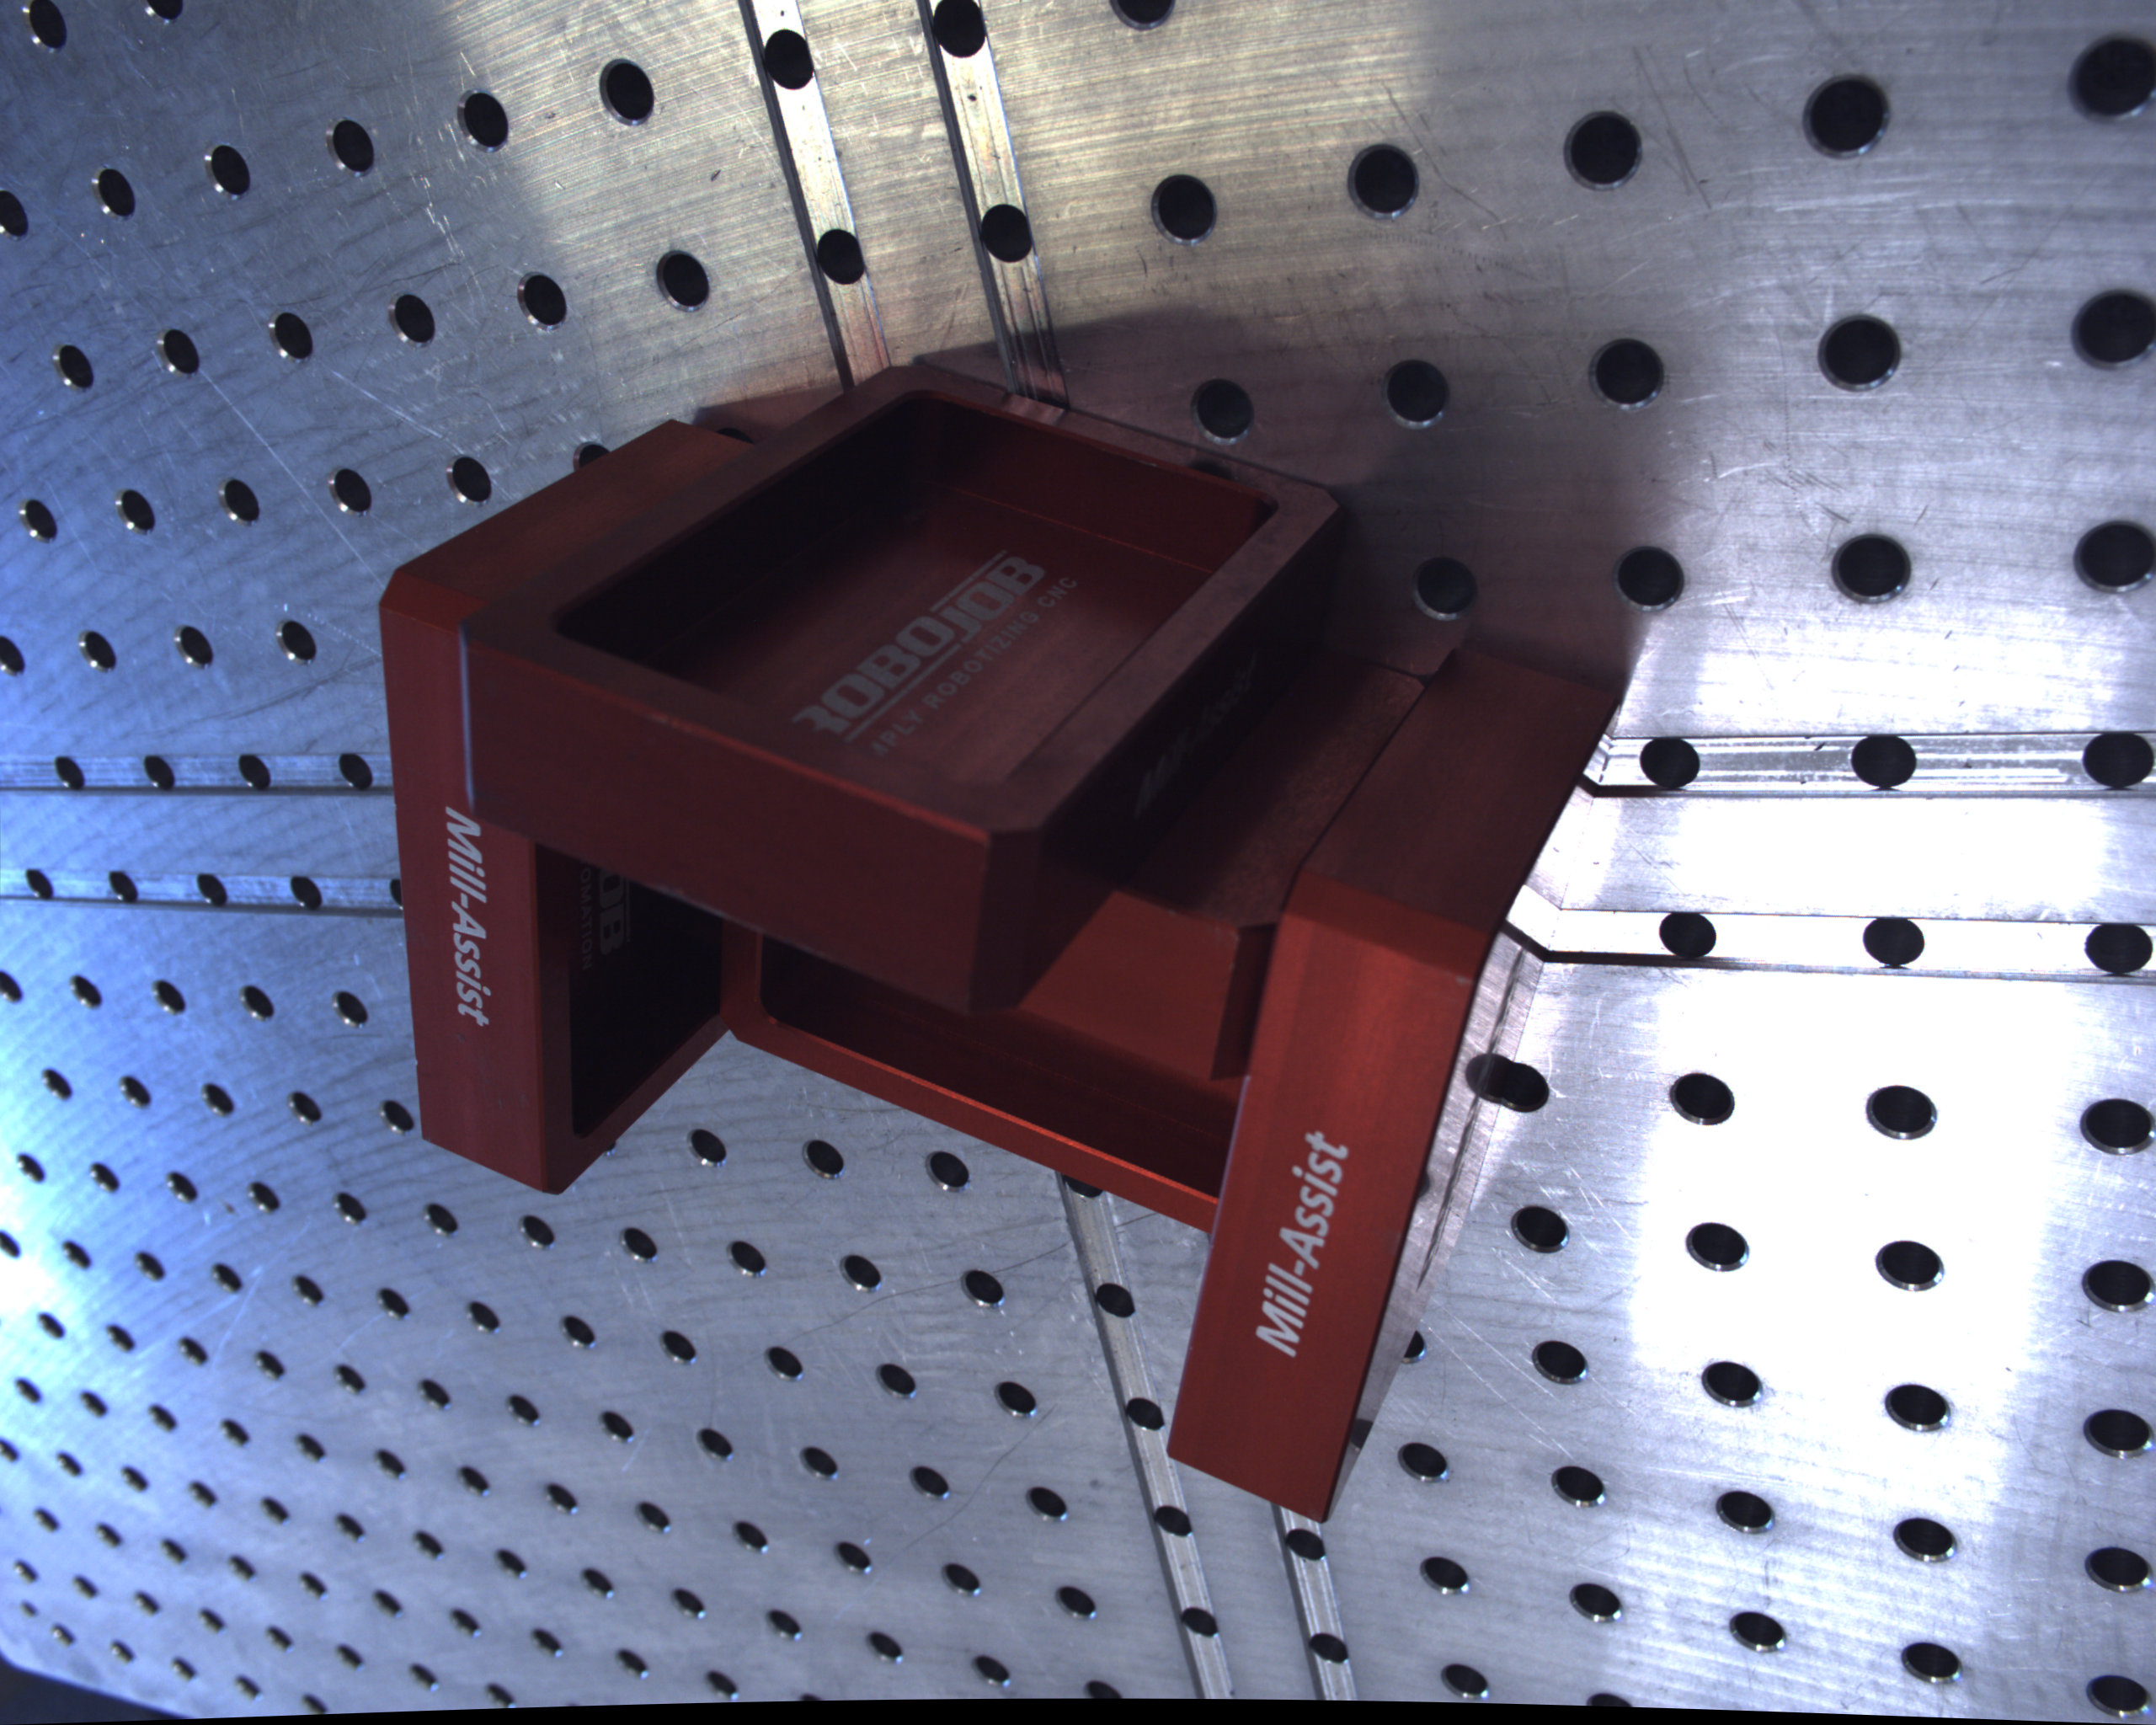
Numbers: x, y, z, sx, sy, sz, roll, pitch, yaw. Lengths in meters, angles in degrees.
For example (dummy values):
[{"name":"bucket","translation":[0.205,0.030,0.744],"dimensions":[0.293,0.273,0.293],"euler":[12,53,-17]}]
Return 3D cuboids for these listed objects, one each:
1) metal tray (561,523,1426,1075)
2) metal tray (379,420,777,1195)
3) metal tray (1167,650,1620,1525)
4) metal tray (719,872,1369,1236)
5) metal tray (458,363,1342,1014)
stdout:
[{"name":"metal tray","translation":[-0.014,-0.020,0.364],"dimensions":[0.130,0.090,0.030],"euler":[20,126,16]},{"name":"metal tray","translation":[-0.091,-0.011,0.411],"dimensions":[0.030,0.090,0.129],"euler":[20,126,16]},{"name":"metal tray","translation":[0.055,0.039,0.364],"dimensions":[0.030,0.090,0.129],"euler":[20,126,17]},{"name":"metal tray","translation":[-0.008,0.016,0.422],"dimensions":[0.130,0.030,0.089],"euler":[20,126,16]},{"name":"metal tray","translation":[-0.022,-0.036,0.332],"dimensions":[0.090,0.131,0.030],"euler":[20,127,16]}]
